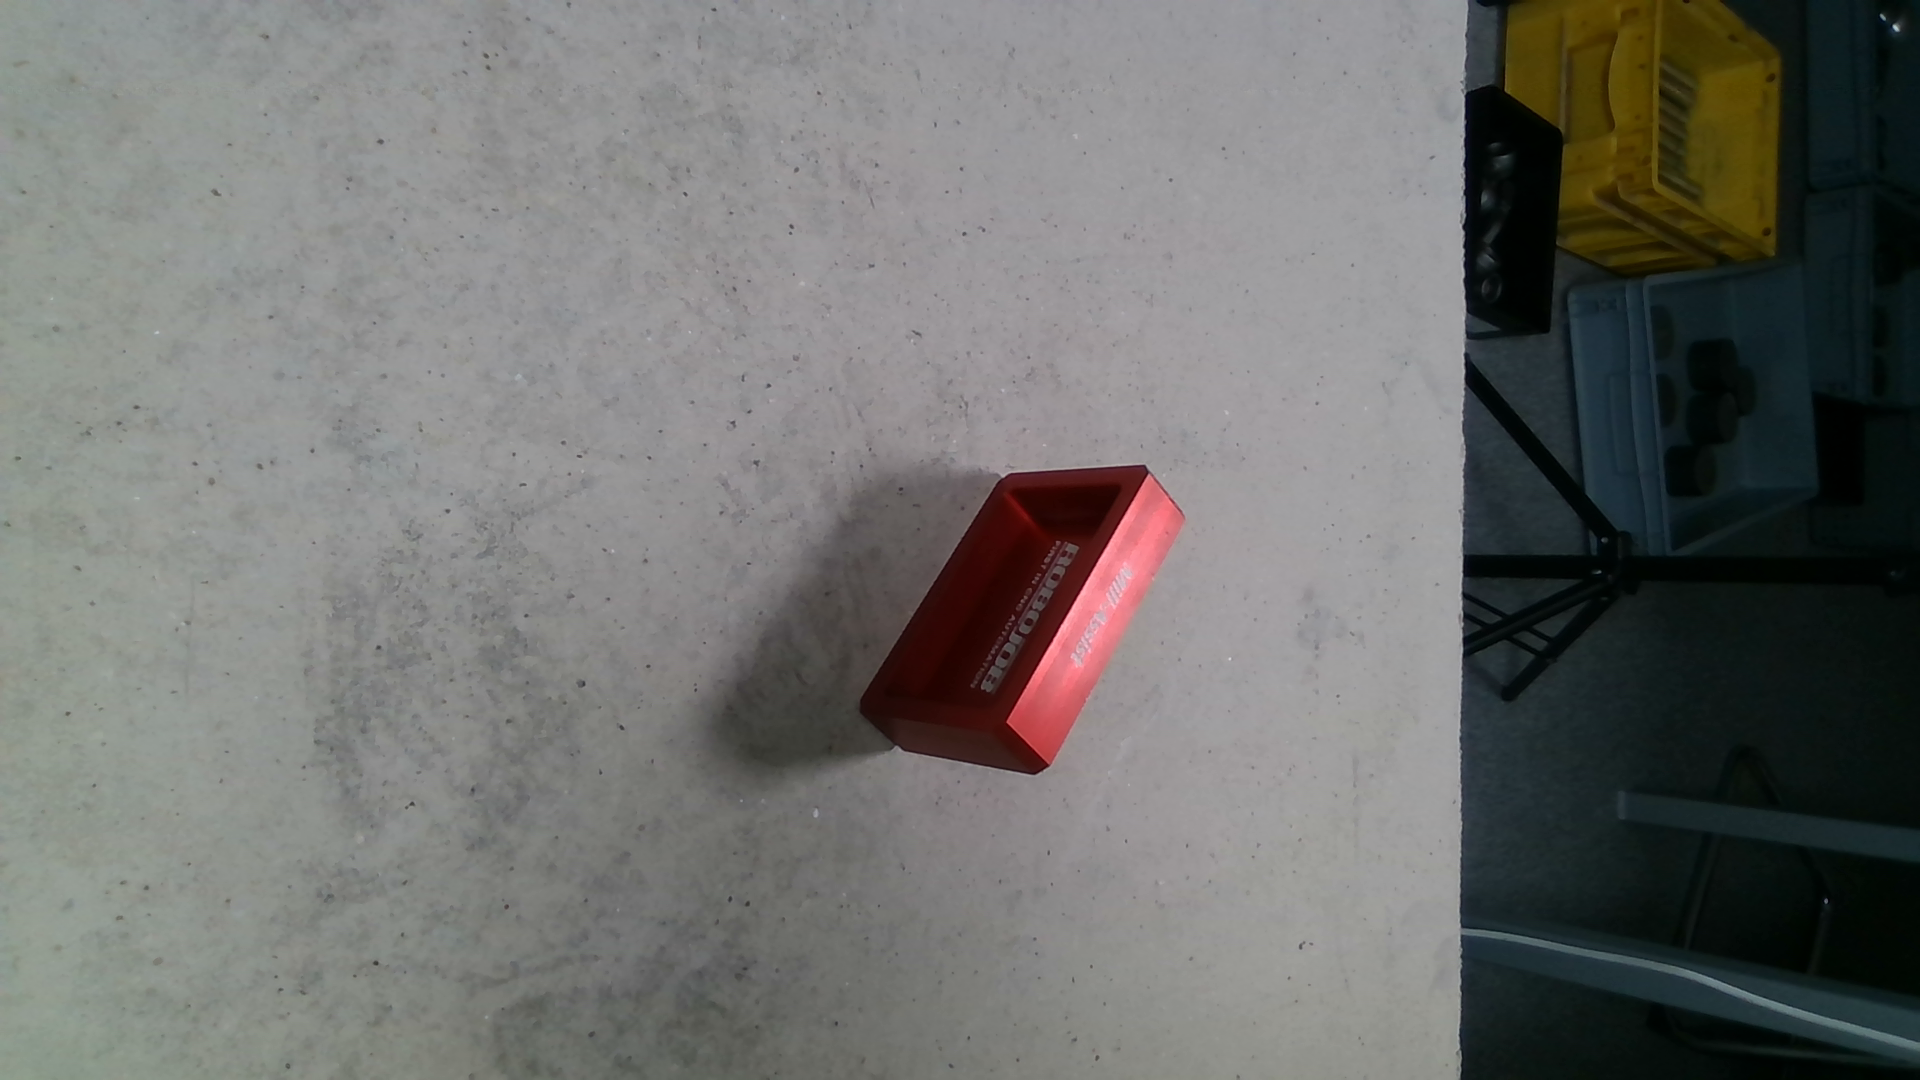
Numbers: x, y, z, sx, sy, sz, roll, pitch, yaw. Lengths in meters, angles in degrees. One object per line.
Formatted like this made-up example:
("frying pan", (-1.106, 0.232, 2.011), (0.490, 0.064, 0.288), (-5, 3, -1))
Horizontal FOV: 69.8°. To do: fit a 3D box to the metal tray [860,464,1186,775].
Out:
("metal tray", (0.025, 0.029, 0.562), (0.030, 0.090, 0.130), (47, 62, -30))
